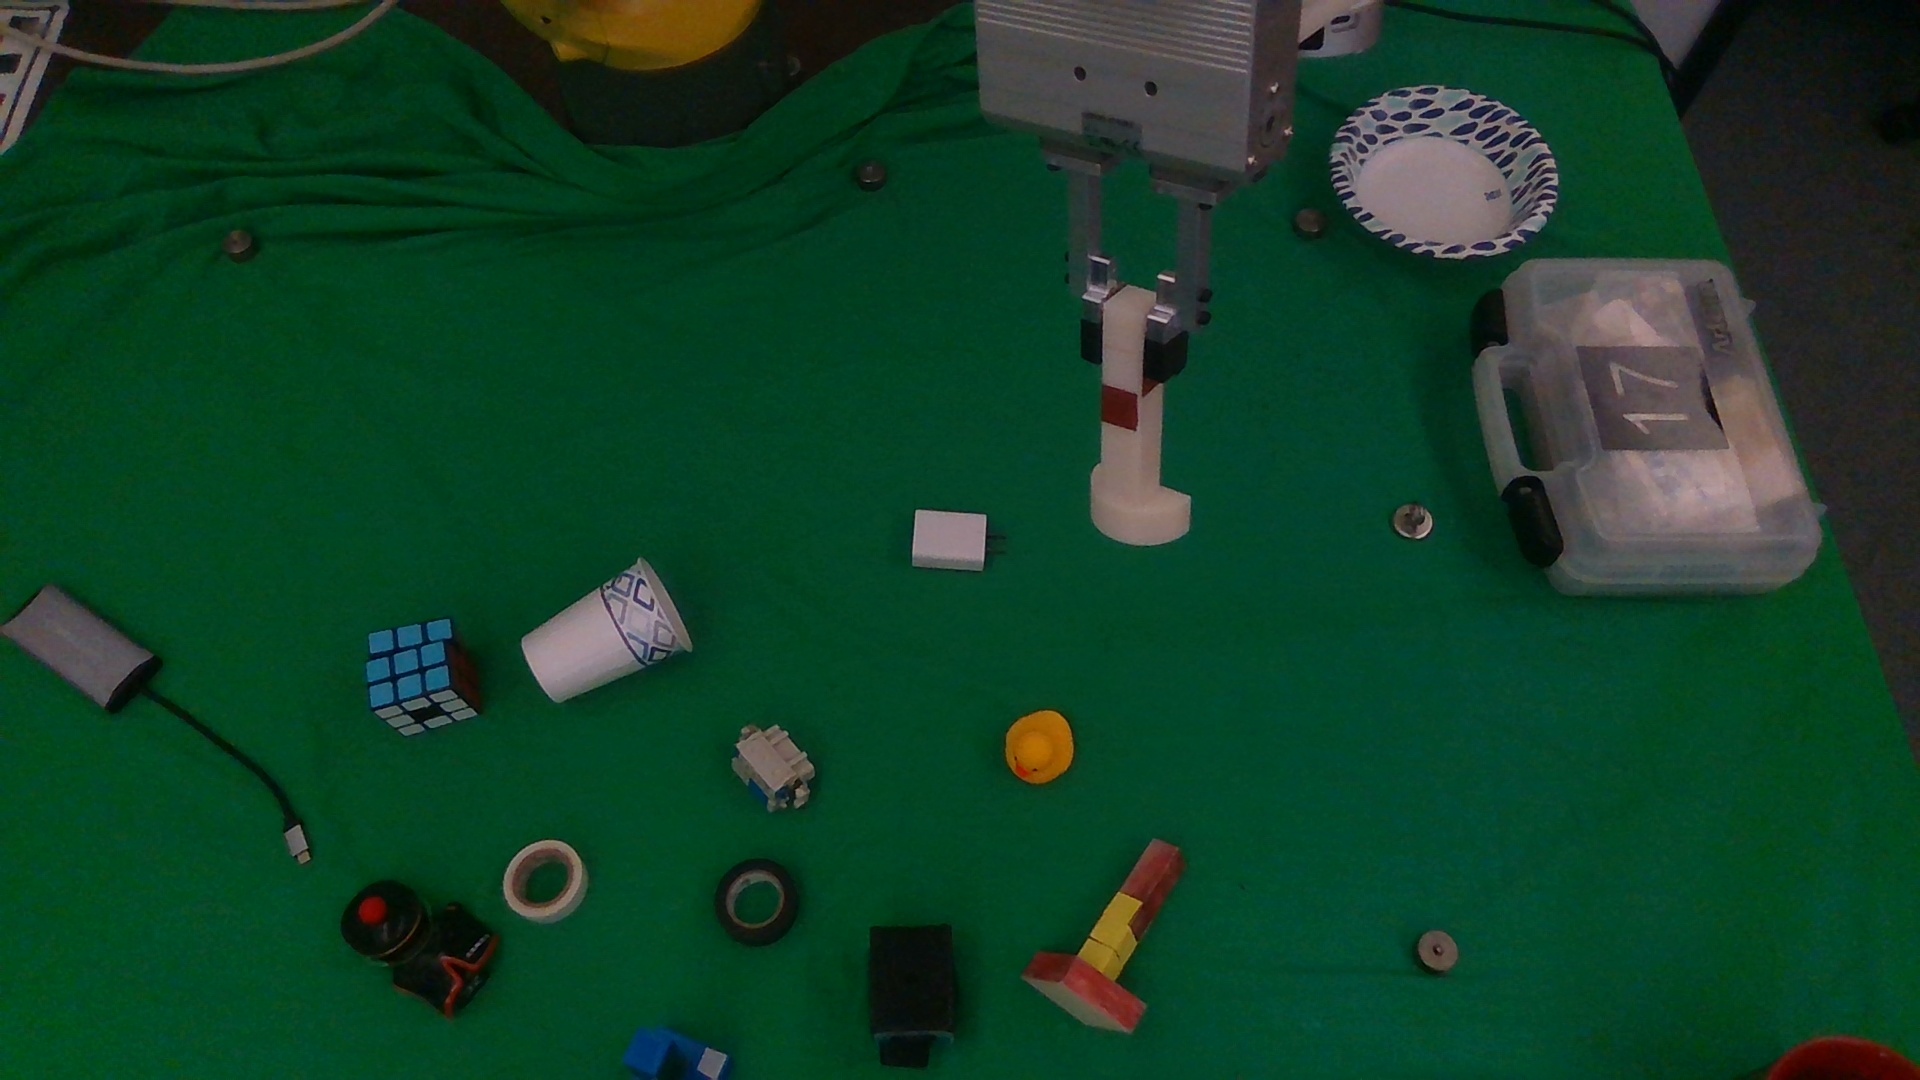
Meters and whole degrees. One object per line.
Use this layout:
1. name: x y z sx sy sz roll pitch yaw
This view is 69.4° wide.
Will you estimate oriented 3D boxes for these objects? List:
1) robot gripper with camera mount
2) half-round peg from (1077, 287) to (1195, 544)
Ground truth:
1. robot gripper with camera mount: 0.102 -0.176 0.584 0.119 0.158 0.193 22 48 31
2. half-round peg: 0.078 -0.054 0.615 0.054 0.122 0.031 16 40 22
